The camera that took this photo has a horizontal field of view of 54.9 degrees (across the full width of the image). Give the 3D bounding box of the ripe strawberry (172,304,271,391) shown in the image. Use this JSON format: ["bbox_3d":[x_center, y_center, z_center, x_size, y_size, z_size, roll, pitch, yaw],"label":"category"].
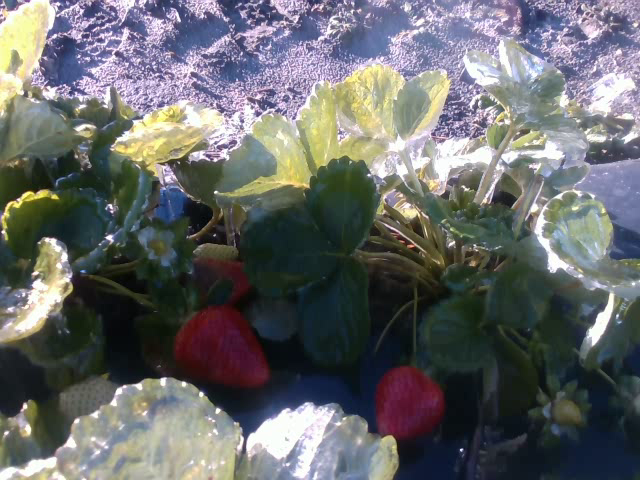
[{"bbox_3d":[-0.047,0.055,0.305,0.044,0.056,0.040,-40,-21,-27],"label":"ripe strawberry"}]

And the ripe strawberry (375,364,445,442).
[{"bbox_3d":[0.041,0.079,0.283,0.039,0.040,0.047,30,48,13],"label":"ripe strawberry"}]
